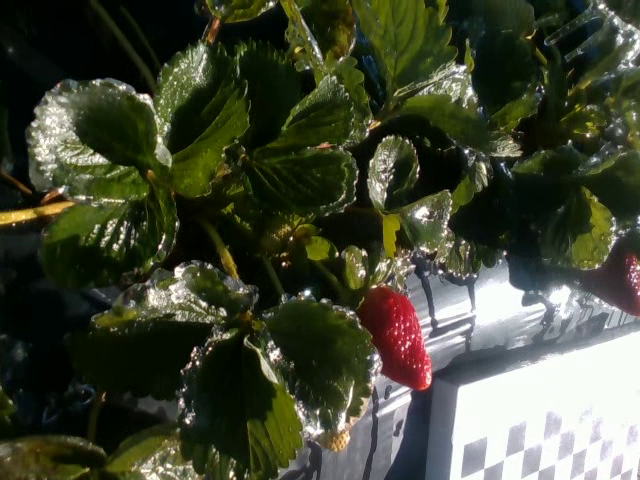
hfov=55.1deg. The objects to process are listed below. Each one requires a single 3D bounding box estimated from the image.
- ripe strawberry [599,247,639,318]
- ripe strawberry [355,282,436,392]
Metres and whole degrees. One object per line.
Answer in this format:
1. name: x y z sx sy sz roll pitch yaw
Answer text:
1. ripe strawberry: 0.222 0.033 0.445 0.048 0.061 0.044 -12 -14 -36
2. ripe strawberry: 0.038 0.056 0.312 0.043 0.061 0.046 -20 -19 -34
